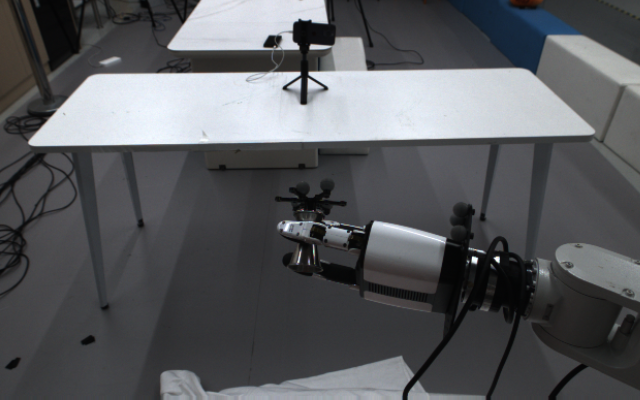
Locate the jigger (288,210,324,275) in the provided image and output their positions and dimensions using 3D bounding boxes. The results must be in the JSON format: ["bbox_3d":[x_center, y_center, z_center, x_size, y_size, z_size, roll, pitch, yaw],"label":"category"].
[{"bbox_3d":[-0.017,0.049,0.588,0.043,0.043,0.071,4,71,3],"label":"jigger"}]
